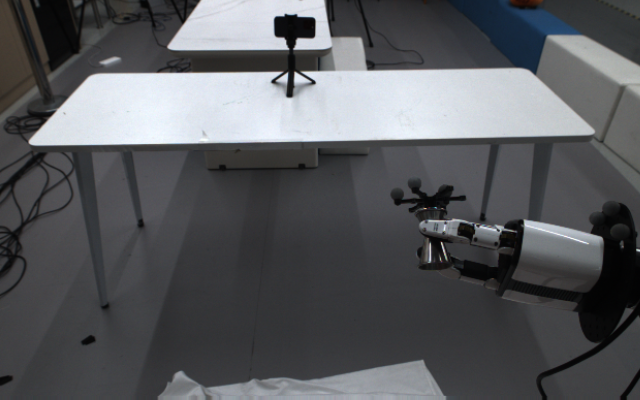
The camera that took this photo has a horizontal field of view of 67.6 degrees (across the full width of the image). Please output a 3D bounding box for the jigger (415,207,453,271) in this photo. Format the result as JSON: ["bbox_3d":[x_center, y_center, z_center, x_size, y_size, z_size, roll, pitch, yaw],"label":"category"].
[{"bbox_3d":[0.138,0.046,0.588,0.043,0.043,0.071,1,70,-2],"label":"jigger"}]
